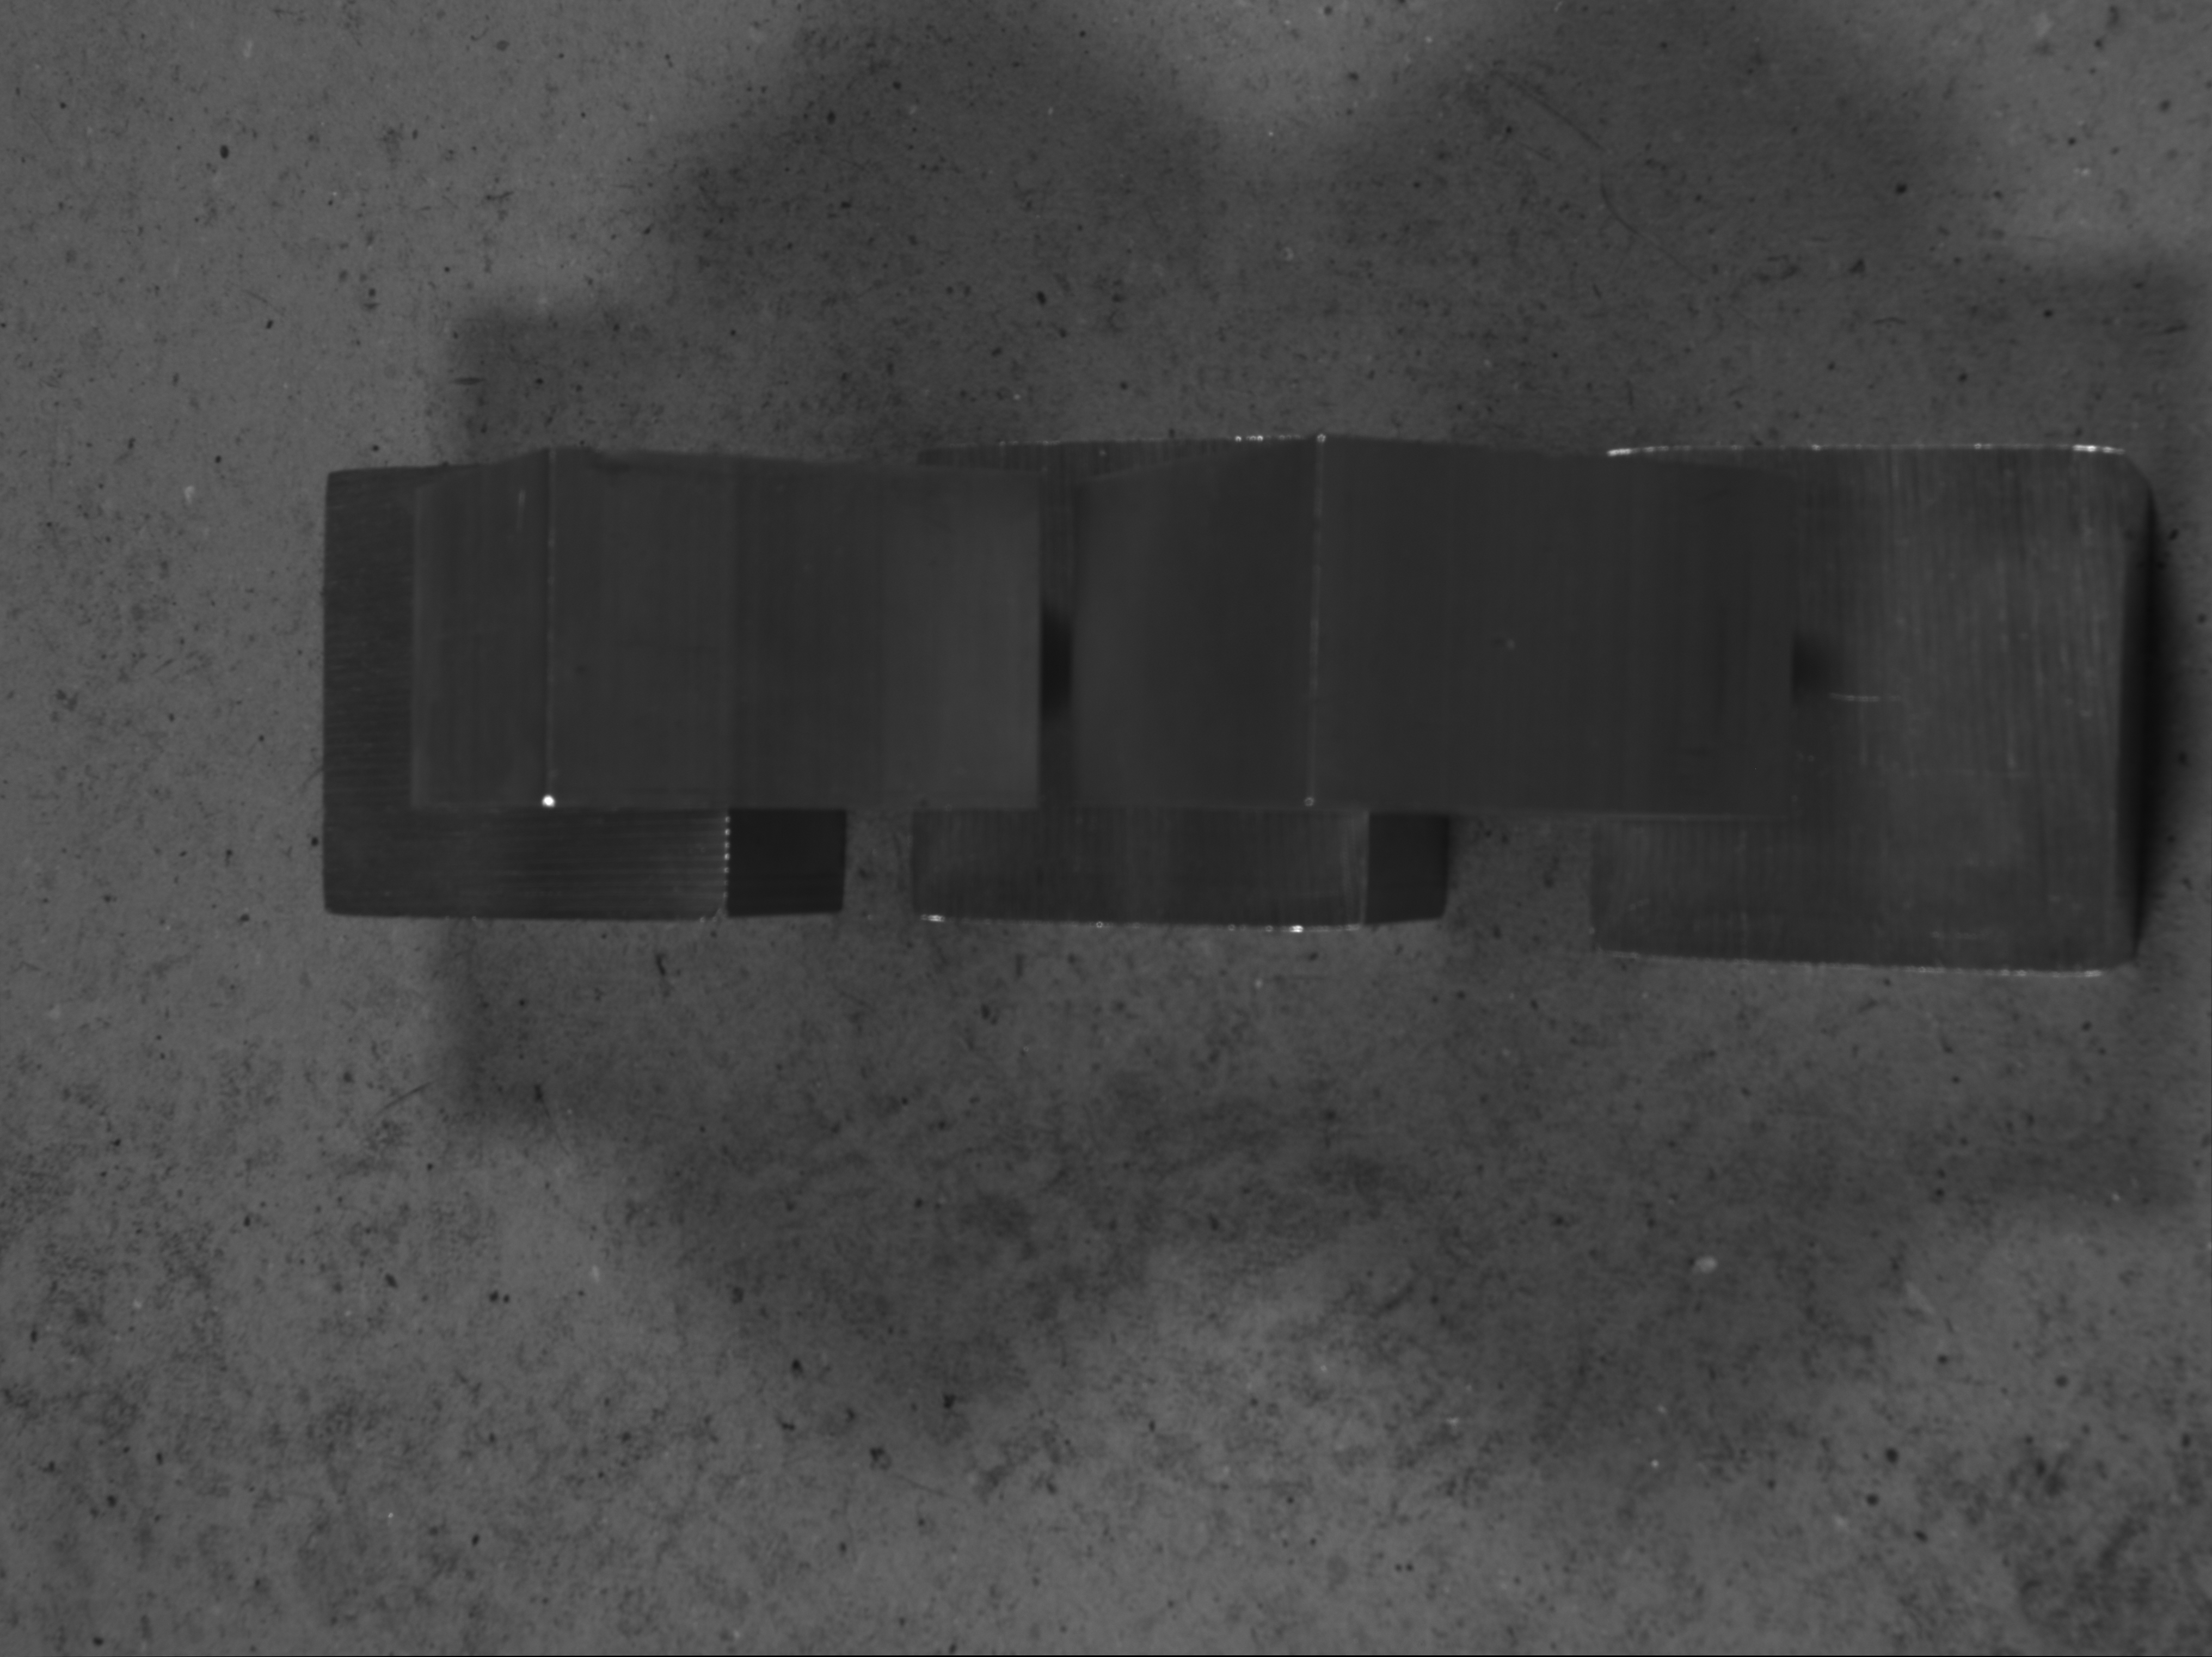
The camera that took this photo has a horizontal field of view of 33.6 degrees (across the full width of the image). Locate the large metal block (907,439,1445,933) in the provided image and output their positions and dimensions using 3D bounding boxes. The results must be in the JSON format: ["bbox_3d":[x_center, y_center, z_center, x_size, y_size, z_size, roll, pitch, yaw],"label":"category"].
[{"bbox_3d":[0.013,-0.024,0.627,0.080,0.050,0.080,1,90,20],"label":"large metal block"}]

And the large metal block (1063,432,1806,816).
[{"bbox_3d":[0.047,-0.028,0.548,0.080,0.080,0.050,-179,91,-64],"label":"large metal block"}]

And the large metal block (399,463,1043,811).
[{"bbox_3d":[-0.063,-0.028,0.585,0.080,0.080,0.050,-1,90,-25],"label":"large metal block"}]

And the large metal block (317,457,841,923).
[{"bbox_3d":[-0.095,-0.024,0.665,0.080,0.050,0.080,0,90,20],"label":"large metal block"}]

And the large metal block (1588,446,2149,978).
[{"bbox_3d":[0.123,-0.018,0.588,0.080,0.050,0.080,2,90,20],"label":"large metal block"}]
